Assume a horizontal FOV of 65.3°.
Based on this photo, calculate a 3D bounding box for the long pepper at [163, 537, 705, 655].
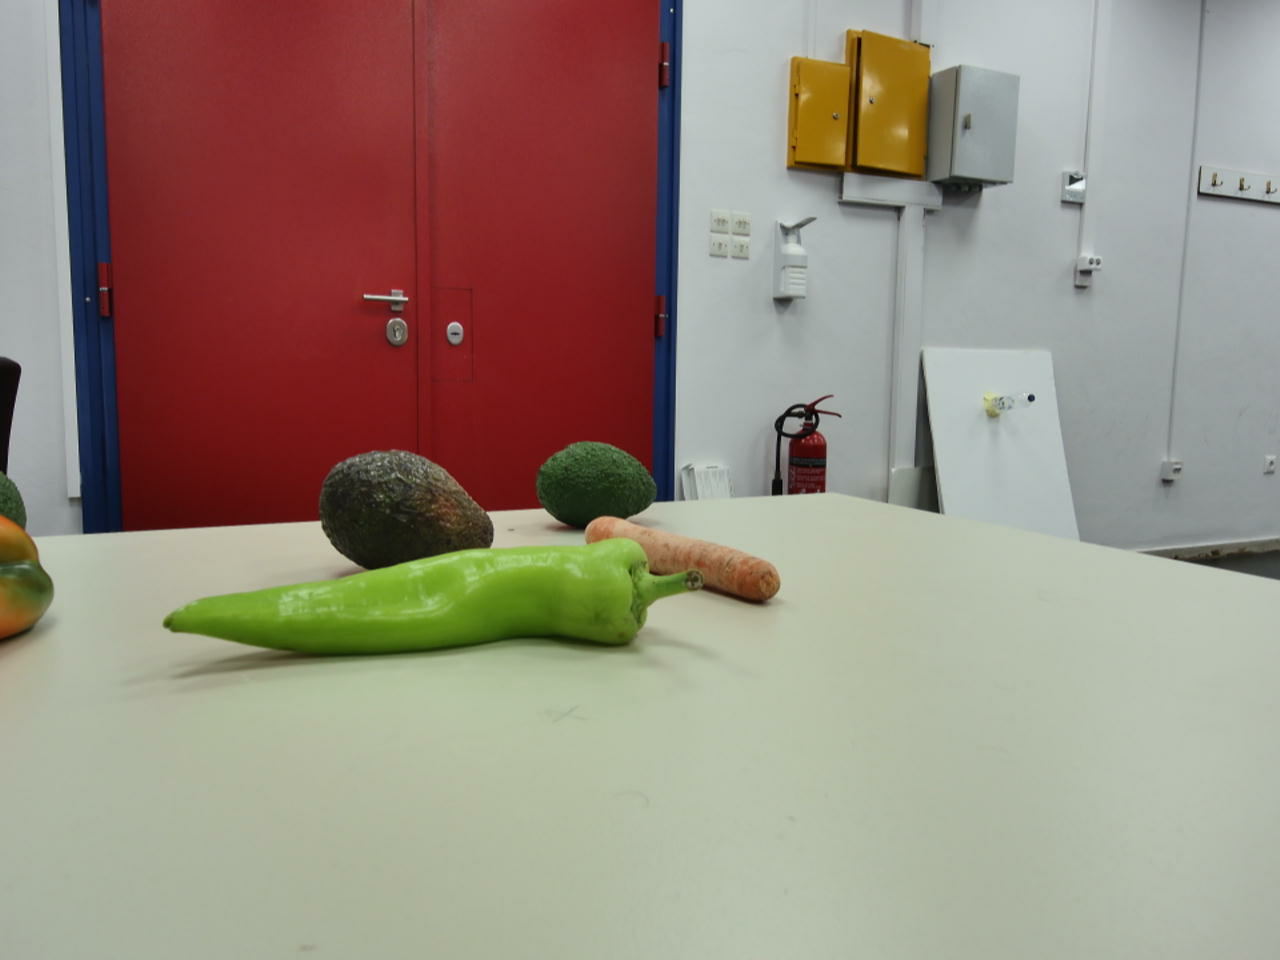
[{"bbox_3d":[-0.079,0.049,0.417,0.204,0.045,0.065,-1,4,-10],"label":"long pepper"}]
